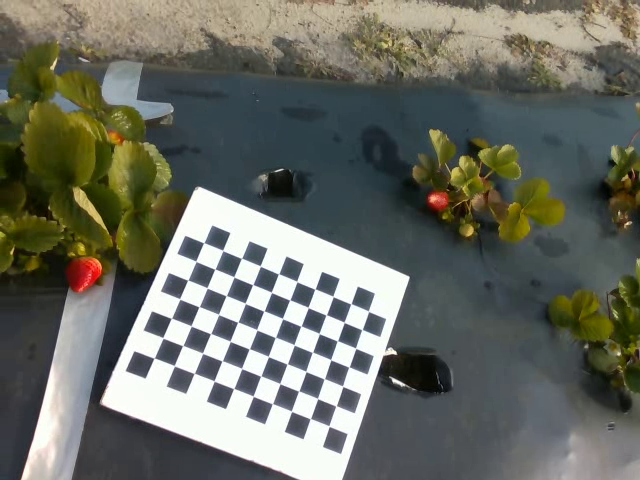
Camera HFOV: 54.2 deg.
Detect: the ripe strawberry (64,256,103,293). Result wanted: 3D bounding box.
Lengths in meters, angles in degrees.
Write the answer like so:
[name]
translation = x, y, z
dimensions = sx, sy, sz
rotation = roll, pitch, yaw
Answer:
[ripe strawberry]
translation = -0.249, 0.039, 0.652
dimensions = 0.050, 0.055, 0.035
rotation = 19, -33, -14
